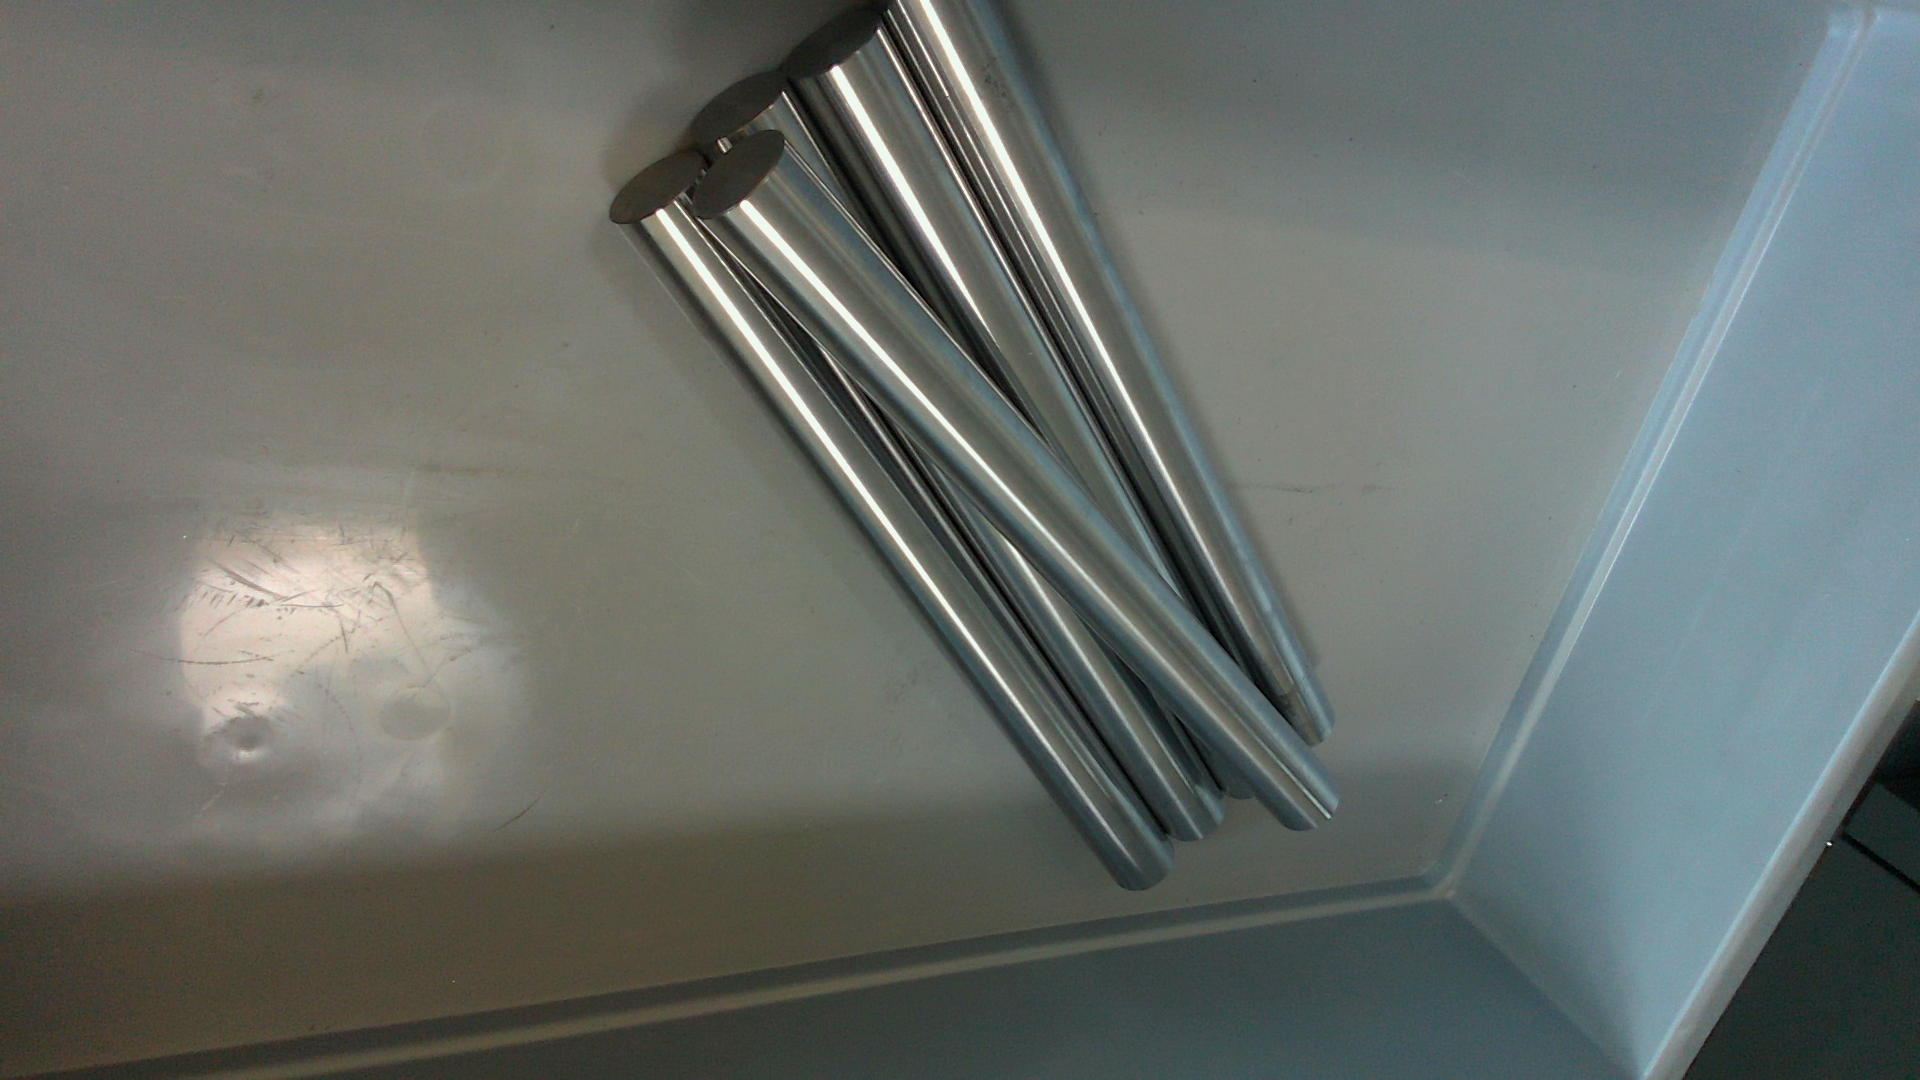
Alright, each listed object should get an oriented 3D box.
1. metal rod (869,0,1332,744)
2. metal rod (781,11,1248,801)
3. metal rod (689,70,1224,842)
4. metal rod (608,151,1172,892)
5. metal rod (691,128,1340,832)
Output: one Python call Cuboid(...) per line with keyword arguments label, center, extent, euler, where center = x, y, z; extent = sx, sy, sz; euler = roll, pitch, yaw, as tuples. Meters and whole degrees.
Cuboid(label="metal rod", center=(0.055, -0.031, 0.399), extent=(0.025, 0.025, 0.301), euler=(-37, 129, -3))
Cuboid(label="metal rod", center=(0.037, -0.013, 0.400), extent=(0.025, 0.025, 0.301), euler=(-37, 129, -3))
Cuboid(label="metal rod", center=(0.017, 0.001, 0.397), extent=(0.025, 0.025, 0.301), euler=(-37, 129, -3))
Cuboid(label="metal rod", center=(-0.001, 0.018, 0.398), extent=(0.025, 0.025, 0.301), euler=(-37, 129, -3))
Cuboid(label="metal rod", center=(0.036, 0.007, 0.379), extent=(0.025, 0.025, 0.301), euler=(-43, 129, 2))
